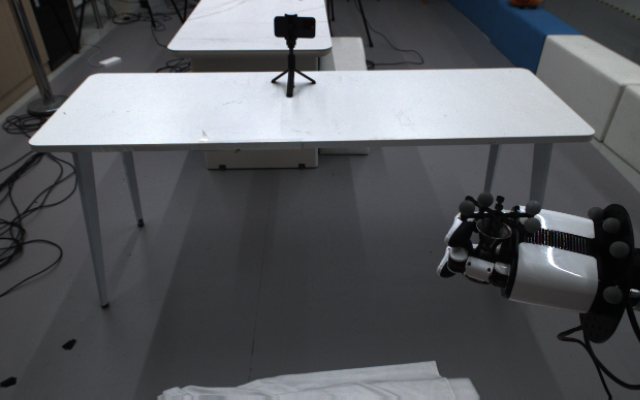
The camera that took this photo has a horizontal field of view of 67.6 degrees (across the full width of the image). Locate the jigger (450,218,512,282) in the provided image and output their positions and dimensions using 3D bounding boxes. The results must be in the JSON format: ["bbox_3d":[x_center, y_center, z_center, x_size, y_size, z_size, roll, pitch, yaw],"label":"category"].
[{"bbox_3d":[0.202,0.060,0.583,0.043,0.071,0.043,4,31,-2],"label":"jigger"}]
